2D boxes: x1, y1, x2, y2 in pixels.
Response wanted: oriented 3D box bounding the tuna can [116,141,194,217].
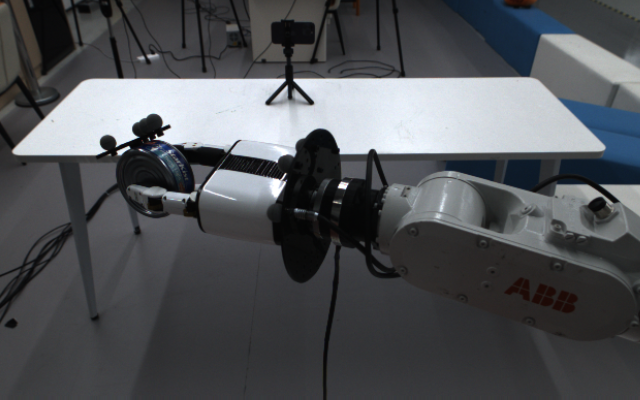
[{"bbox_3d":[-0.185,-0.018,0.552,0.085,0.085,0.034,14,30,17],"label":"tuna can"}]
